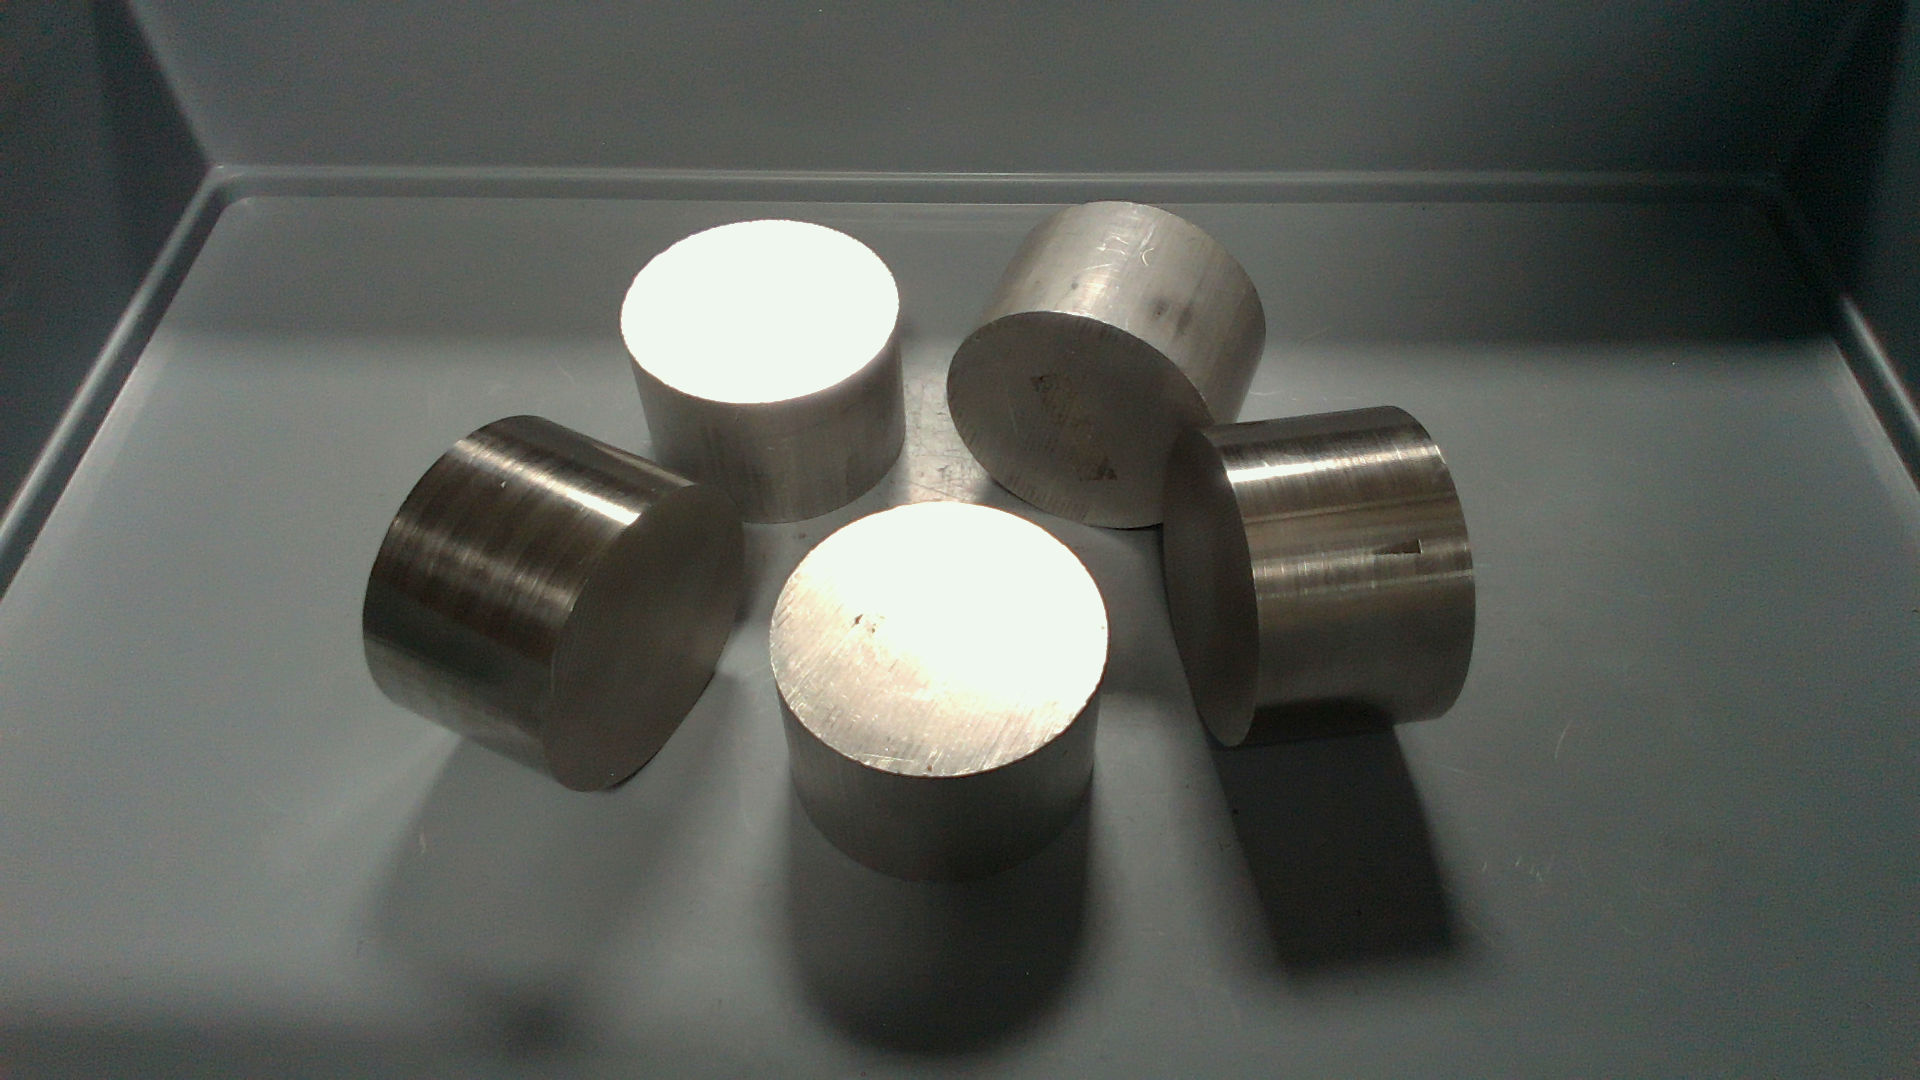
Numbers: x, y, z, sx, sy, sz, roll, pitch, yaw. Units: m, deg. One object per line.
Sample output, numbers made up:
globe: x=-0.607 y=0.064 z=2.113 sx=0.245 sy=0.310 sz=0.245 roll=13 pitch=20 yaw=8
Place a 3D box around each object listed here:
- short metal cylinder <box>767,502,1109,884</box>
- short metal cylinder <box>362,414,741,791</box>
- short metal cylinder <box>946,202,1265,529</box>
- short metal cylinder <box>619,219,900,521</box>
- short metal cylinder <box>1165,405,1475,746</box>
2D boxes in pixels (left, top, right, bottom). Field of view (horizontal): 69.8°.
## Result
short metal cylinder: x=-0.005 y=0.037 z=0.342 sx=0.080 sy=0.050 sz=0.080 roll=0 pitch=50 yaw=0
short metal cylinder: x=-0.098 y=0.015 z=0.341 sx=0.050 sy=0.080 sz=0.080 roll=21 pitch=53 yaw=17
short metal cylinder: x=0.042 y=-0.049 z=0.397 sx=0.080 sy=0.080 sz=0.050 roll=17 pitch=52 yaw=14
short metal cylinder: x=-0.058 y=-0.052 z=0.418 sx=0.080 sy=0.050 sz=0.080 roll=0 pitch=50 yaw=0
short metal cylinder: x=0.087 y=0.009 z=0.347 sx=0.050 sy=0.080 sz=0.080 roll=-7 pitch=50 yaw=-6
